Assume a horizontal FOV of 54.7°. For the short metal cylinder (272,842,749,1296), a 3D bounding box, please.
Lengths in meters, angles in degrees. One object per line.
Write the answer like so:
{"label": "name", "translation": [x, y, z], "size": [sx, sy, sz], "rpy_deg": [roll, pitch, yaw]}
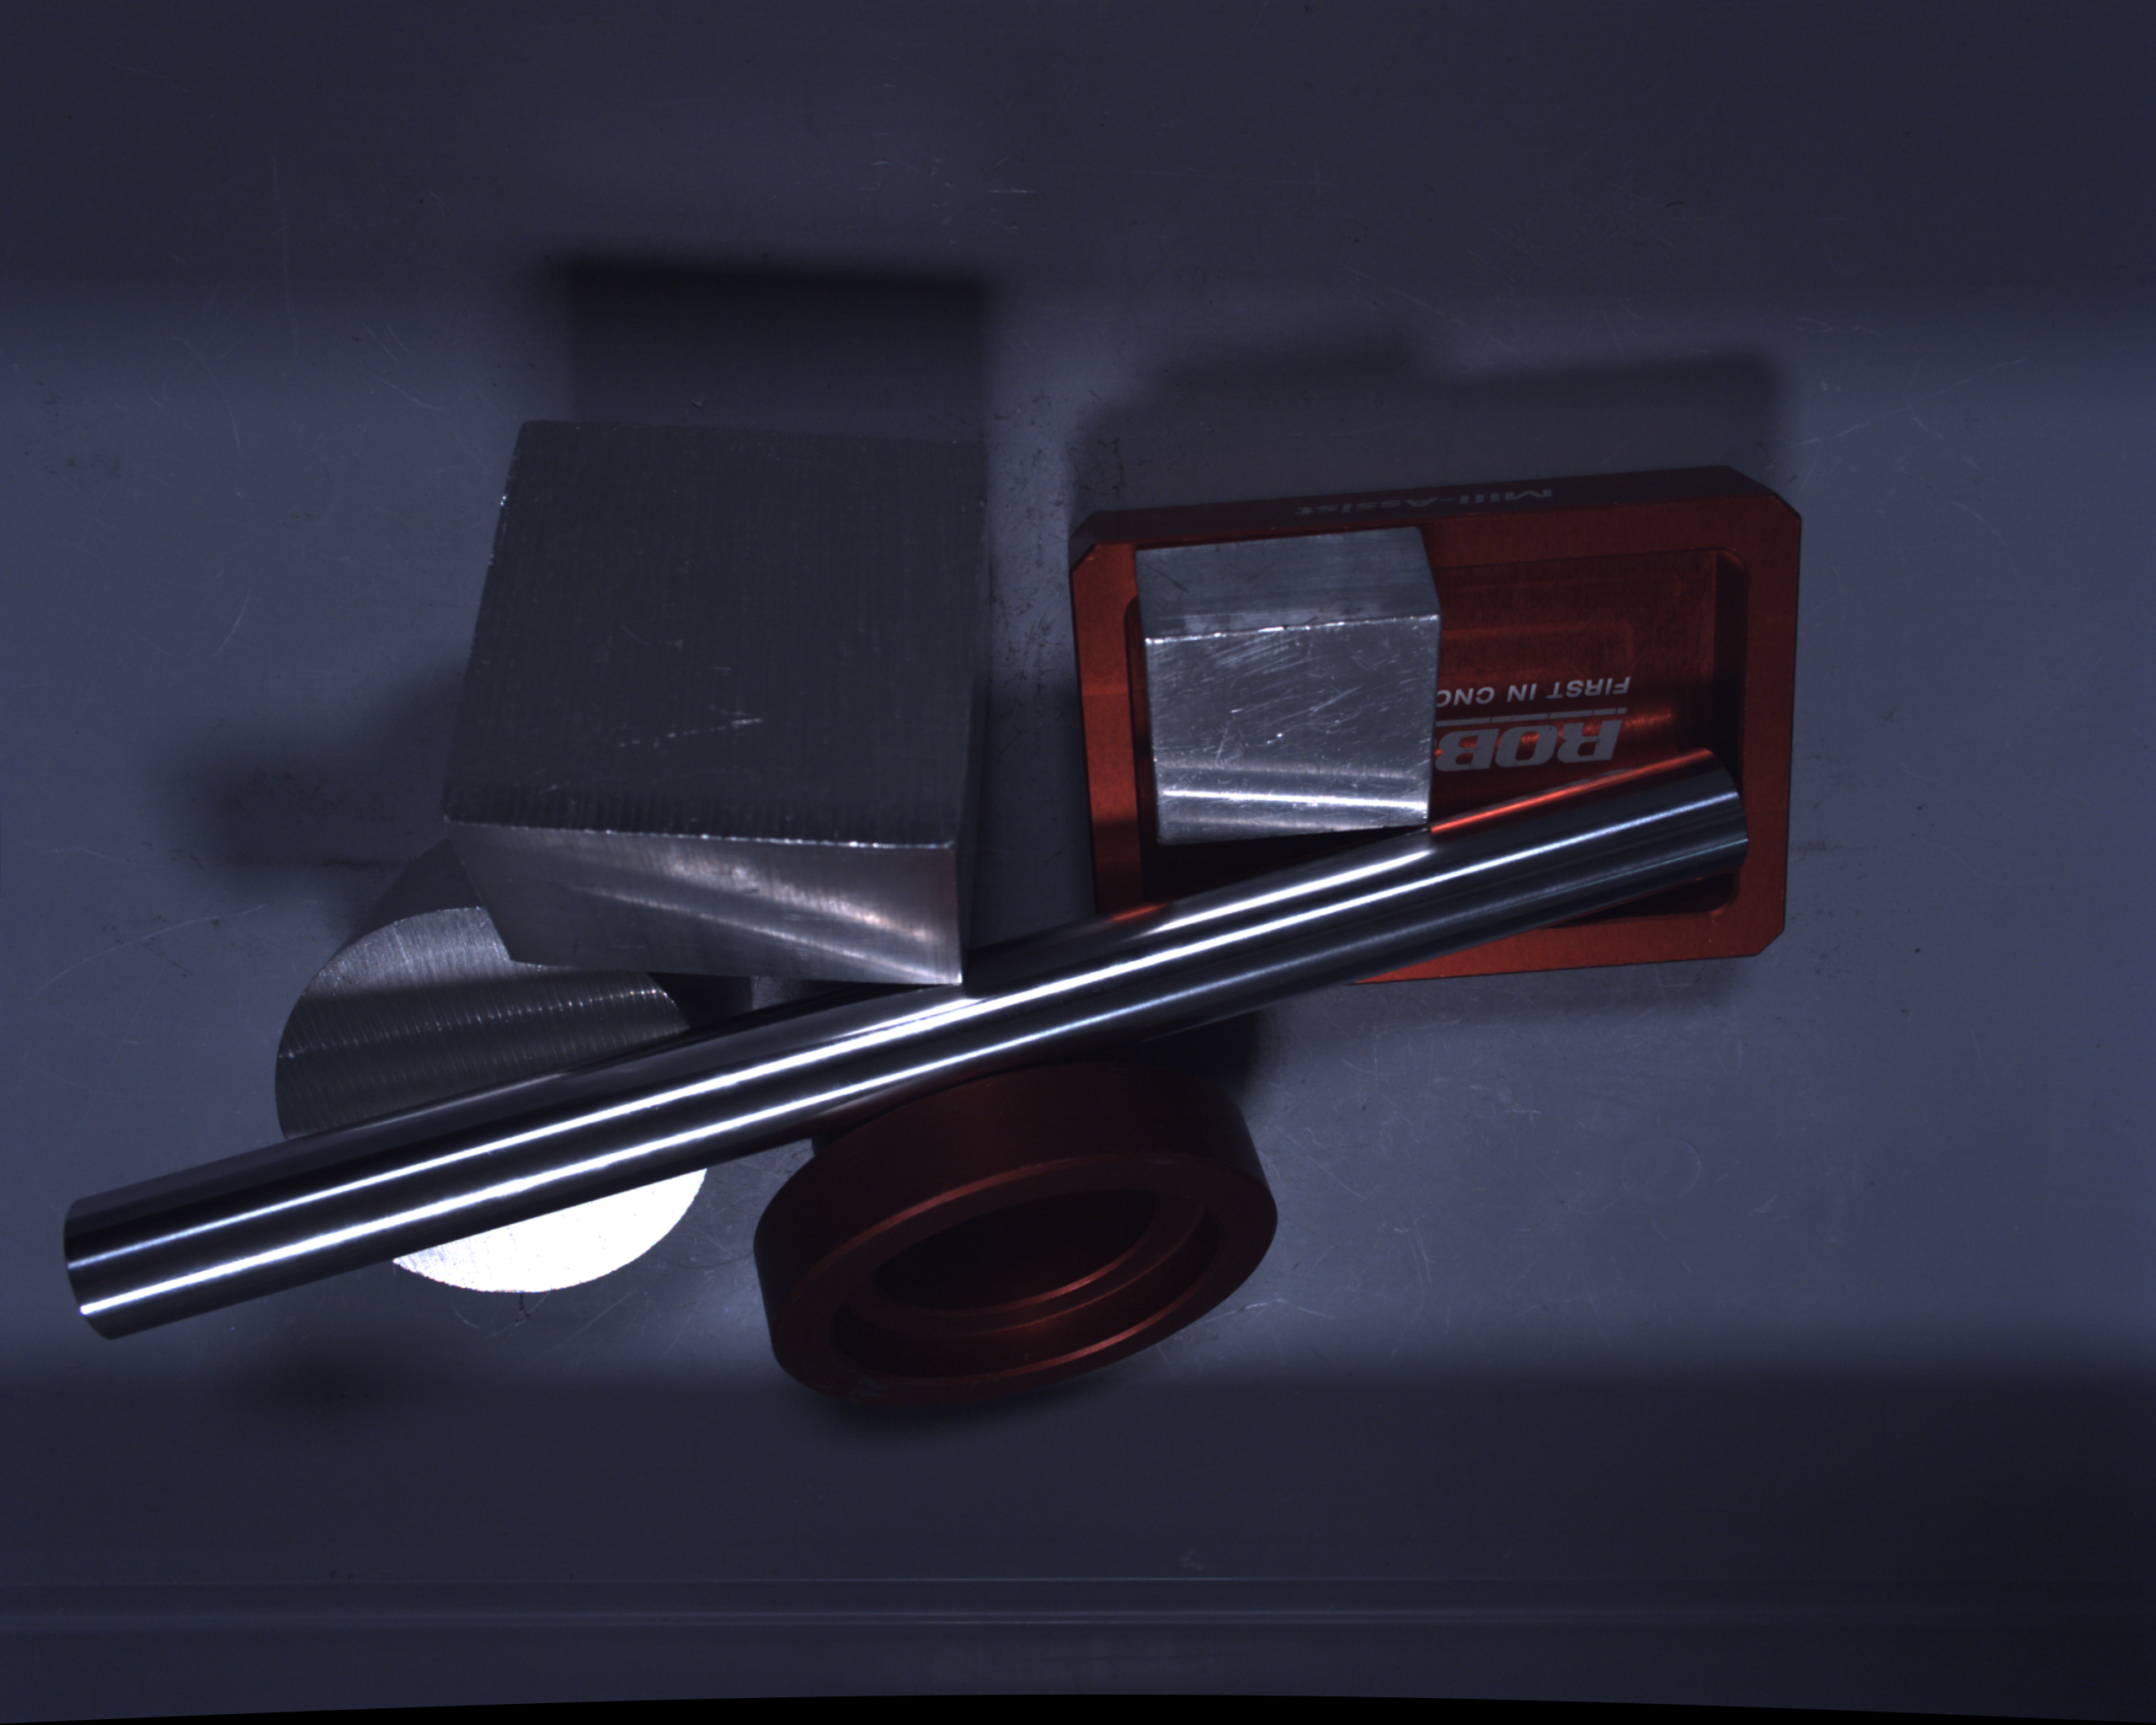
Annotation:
{"label": "short metal cylinder", "translation": [-0.108, 0.037, 0.408], "size": [0.081, 0.050, 0.079], "rpy_deg": [0, 110, -1]}

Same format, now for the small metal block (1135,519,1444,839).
{"label": "small metal block", "translation": [0.037, -0.032, 0.375], "size": [0.050, 0.025, 0.050], "rpy_deg": [-4, 136, 1]}

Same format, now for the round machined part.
{"label": "round machined part", "translation": [-0.014, 0.065, 0.407], "size": [0.099, 0.042, 0.097], "rpy_deg": [-12, 145, -8]}

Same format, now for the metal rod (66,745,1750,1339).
{"label": "metal rod", "translation": [-0.024, 0.030, 0.376], "size": [0.302, 0.025, 0.025], "rpy_deg": [-15, 110, -7]}

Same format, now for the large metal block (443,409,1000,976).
{"label": "large metal block", "translation": [-0.056, -0.029, 0.361], "size": [0.081, 0.080, 0.050], "rpy_deg": [3, 152, -1]}

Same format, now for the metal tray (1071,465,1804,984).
{"label": "metal tray", "translation": [0.067, -0.024, 0.398], "size": [0.131, 0.030, 0.089], "rpy_deg": [-4, 110, 1]}
